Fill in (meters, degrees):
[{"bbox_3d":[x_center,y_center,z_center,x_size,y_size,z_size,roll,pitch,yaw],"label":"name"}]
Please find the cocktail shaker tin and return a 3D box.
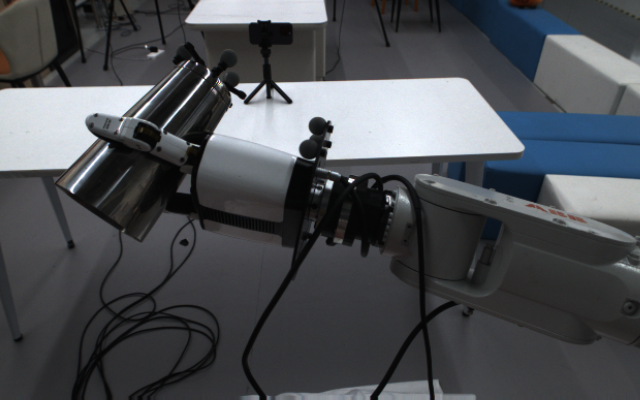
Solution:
[{"bbox_3d":[-0.162,-0.057,0.476,0.093,0.093,0.170,22,67,26],"label":"cocktail shaker tin"}]
